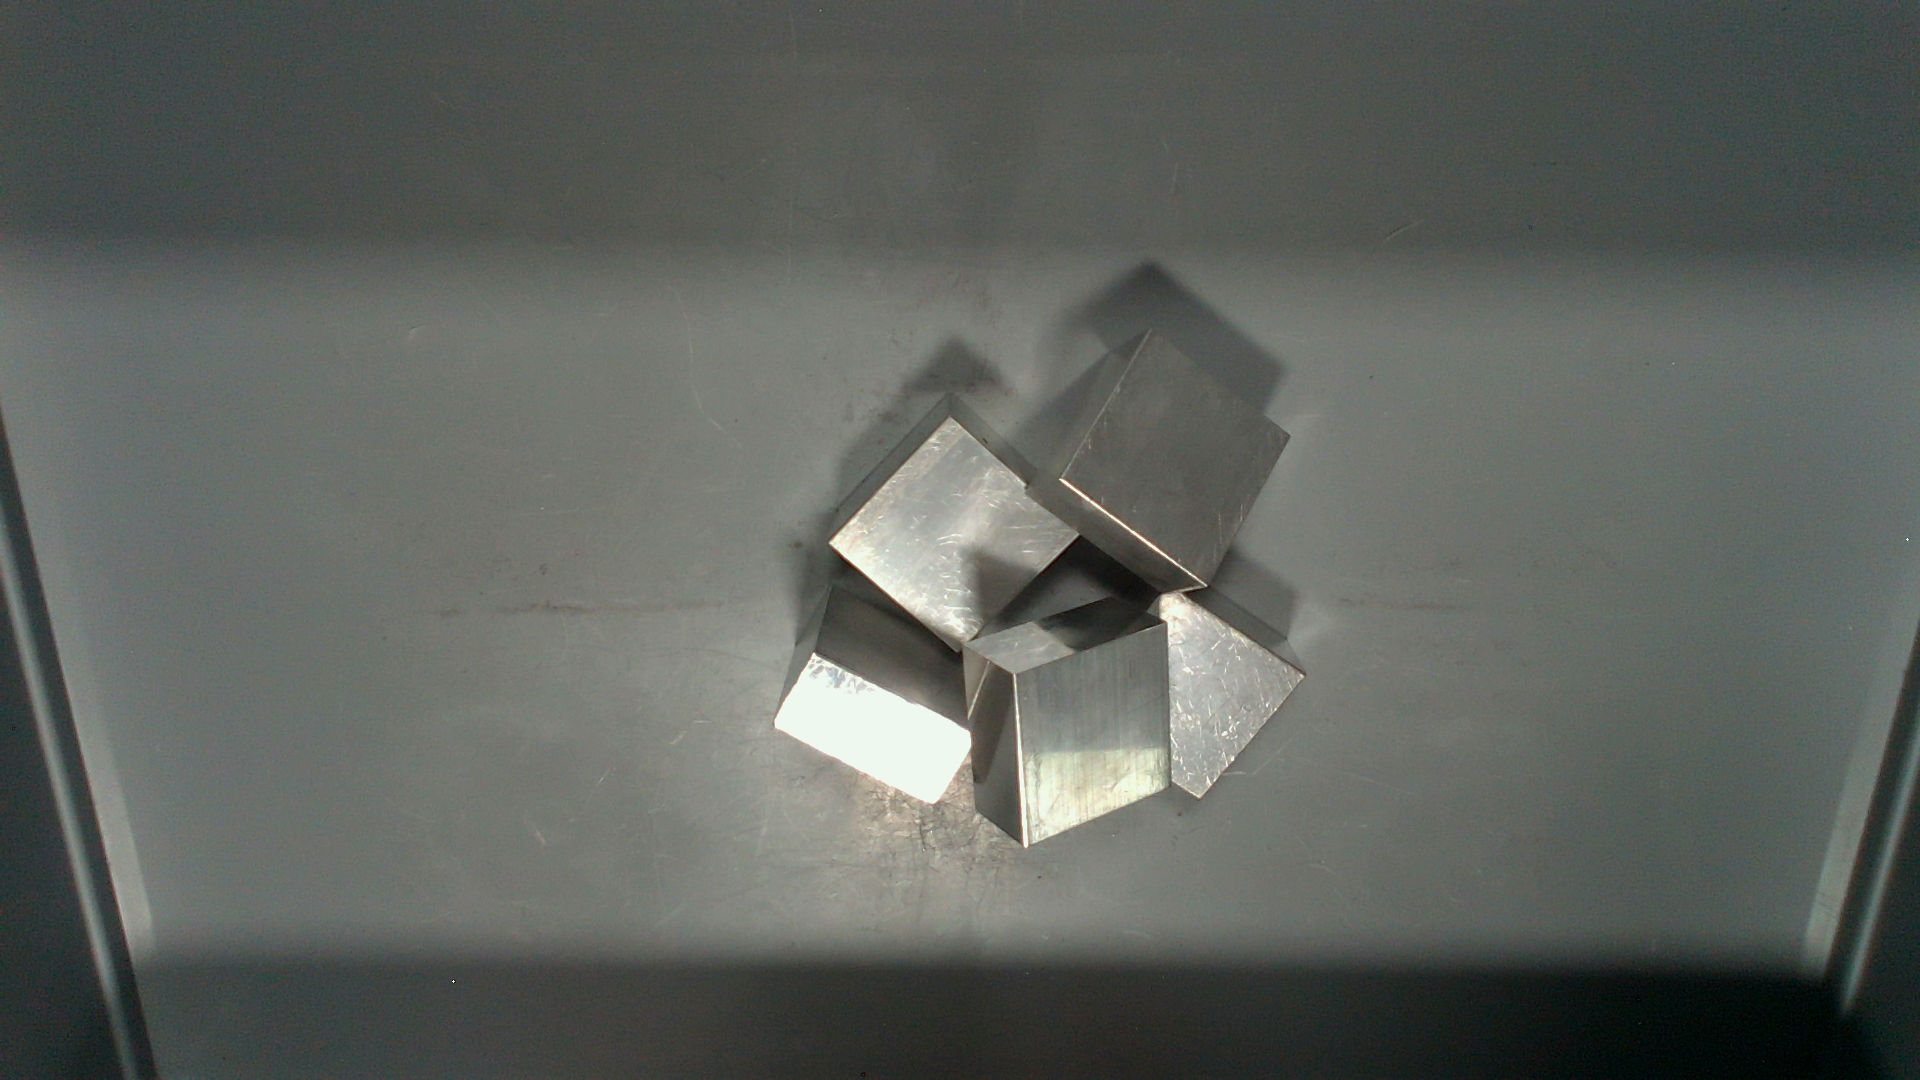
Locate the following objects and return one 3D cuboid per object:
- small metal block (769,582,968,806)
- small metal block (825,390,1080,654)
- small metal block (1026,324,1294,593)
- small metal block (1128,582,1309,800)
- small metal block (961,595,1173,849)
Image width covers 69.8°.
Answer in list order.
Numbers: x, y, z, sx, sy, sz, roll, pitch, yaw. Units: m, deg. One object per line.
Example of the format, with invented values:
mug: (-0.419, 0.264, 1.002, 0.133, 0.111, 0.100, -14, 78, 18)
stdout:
small metal block: (-0.023, 0.043, 0.394, 0.050, 0.050, 0.025, 28, 108, -10)
small metal block: (-0.002, -0.005, 0.390, 0.050, 0.025, 0.050, 42, 105, -14)
small metal block: (0.054, -0.021, 0.373, 0.050, 0.025, 0.050, 35, 73, -12)
small metal block: (0.065, 0.040, 0.407, 0.050, 0.025, 0.050, 33, 107, -12)
small metal block: (0.030, 0.048, 0.372, 0.050, 0.025, 0.050, -16, 113, -29)
